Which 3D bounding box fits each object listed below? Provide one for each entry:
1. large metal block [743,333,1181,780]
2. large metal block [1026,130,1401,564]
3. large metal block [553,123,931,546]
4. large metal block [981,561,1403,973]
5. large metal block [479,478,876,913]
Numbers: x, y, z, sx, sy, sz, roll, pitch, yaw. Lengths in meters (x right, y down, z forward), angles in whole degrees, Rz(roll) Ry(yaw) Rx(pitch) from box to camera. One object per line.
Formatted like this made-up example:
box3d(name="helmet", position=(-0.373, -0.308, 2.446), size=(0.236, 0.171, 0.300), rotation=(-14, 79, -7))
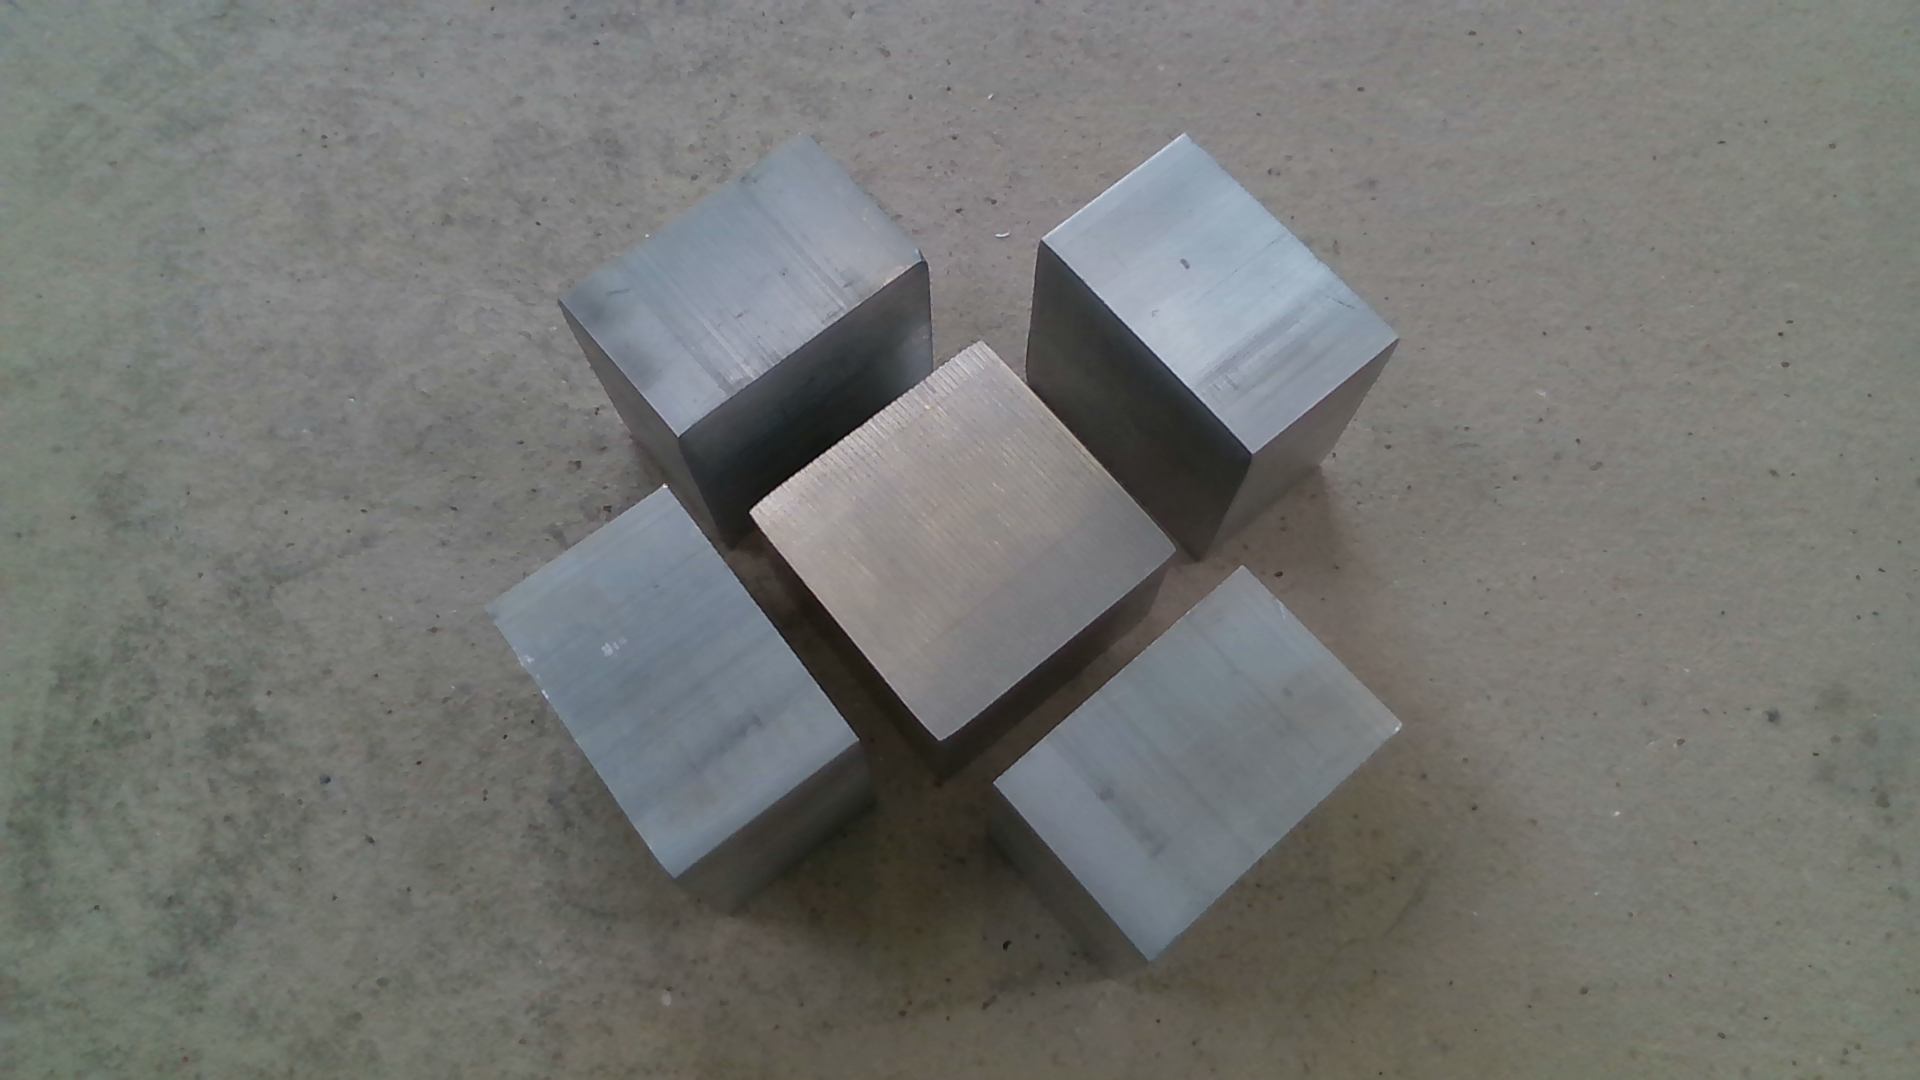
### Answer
box3d(name="large metal block", position=(0.000, 0.005, 0.378), size=(0.080, 0.050, 0.080), rotation=(-38, 75, -12))
box3d(name="large metal block", position=(0.065, -0.050, 0.385), size=(0.050, 0.080, 0.080), rotation=(-38, 75, -13))
box3d(name="large metal block", position=(-0.055, -0.054, 0.385), size=(0.080, 0.080, 0.050), rotation=(-38, 75, -13))
box3d(name="large metal block", position=(0.053, 0.061, 0.345), size=(0.080, 0.080, 0.050), rotation=(-39, 75, -13))
box3d(name="large metal block", position=(-0.067, 0.043, 0.350), size=(0.050, 0.080, 0.080), rotation=(-36, 74, -13))
